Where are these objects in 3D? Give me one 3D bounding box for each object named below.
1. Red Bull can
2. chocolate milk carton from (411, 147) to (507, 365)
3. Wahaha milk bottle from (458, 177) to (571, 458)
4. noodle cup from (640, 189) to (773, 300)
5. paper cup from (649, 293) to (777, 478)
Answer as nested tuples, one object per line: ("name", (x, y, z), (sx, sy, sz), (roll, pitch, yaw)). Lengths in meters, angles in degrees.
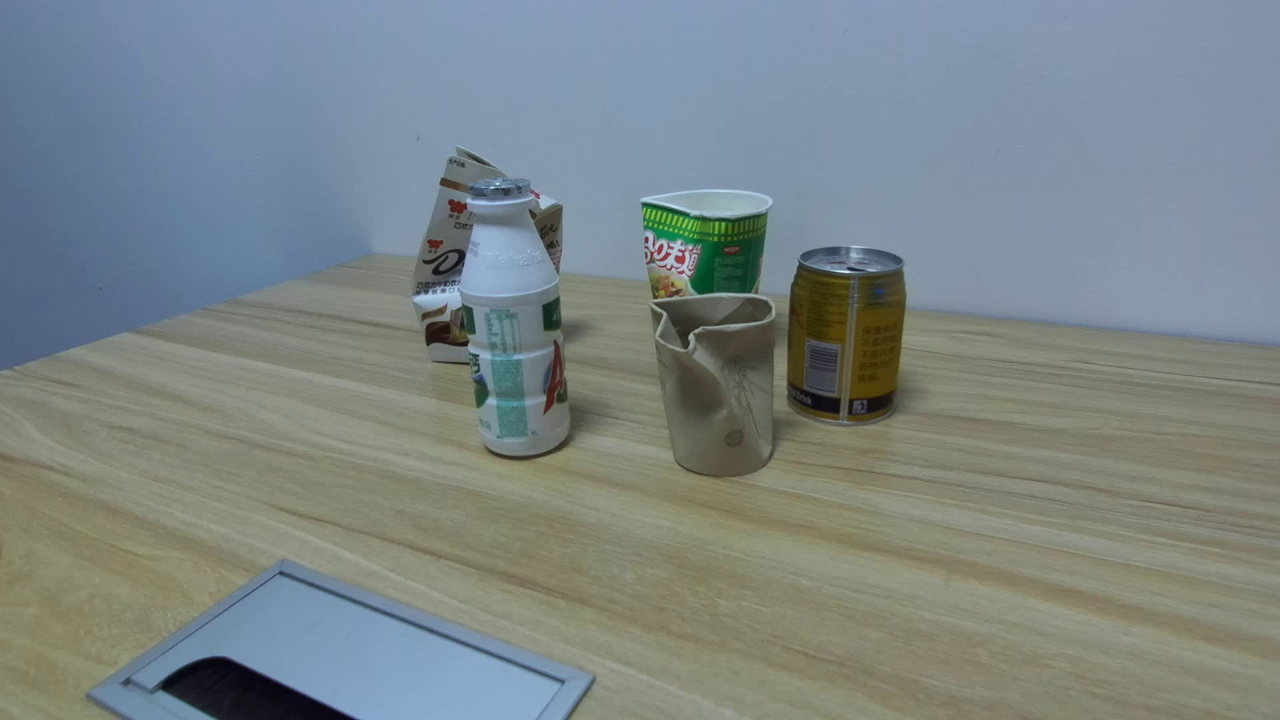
("Red Bull can", (0.122, -0.016, 0.421), (0.068, 0.093, 0.068), (-2, 24, 1))
("chocolate milk carton", (-0.110, -0.075, 0.526), (0.089, 0.155, 0.077), (20, 34, 8))
("Wahaha milk bottle", (-0.068, -0.021, 0.383), (0.053, 0.147, 0.053), (-2, 21, 1))
("noodle cup", (0.052, -0.060, 0.508), (0.087, 0.109, 0.093), (-8, 25, -12))
("paper cup", (0.041, 0.015, 0.367), (0.066, 0.083, 0.058), (-5, 26, -1))
